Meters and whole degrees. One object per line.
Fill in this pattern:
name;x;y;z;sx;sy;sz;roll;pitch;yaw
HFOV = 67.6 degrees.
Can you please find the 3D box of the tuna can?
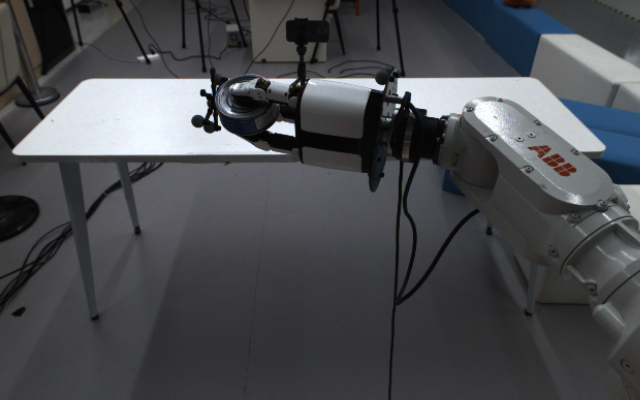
tuna can;-0.099;-0.133;0.666;0.085;0.034;0.085;-2;58;4
